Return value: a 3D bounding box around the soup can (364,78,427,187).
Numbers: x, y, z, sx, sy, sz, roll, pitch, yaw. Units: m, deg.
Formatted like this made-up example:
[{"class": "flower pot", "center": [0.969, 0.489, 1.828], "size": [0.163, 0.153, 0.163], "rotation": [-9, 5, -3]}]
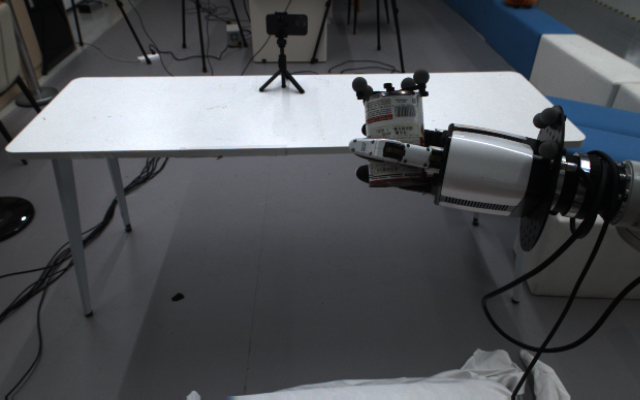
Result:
[{"class": "soup can", "center": [0.089, -0.067, 0.555], "size": [0.067, 0.101, 0.067], "rotation": [-3, -1, 0]}]
